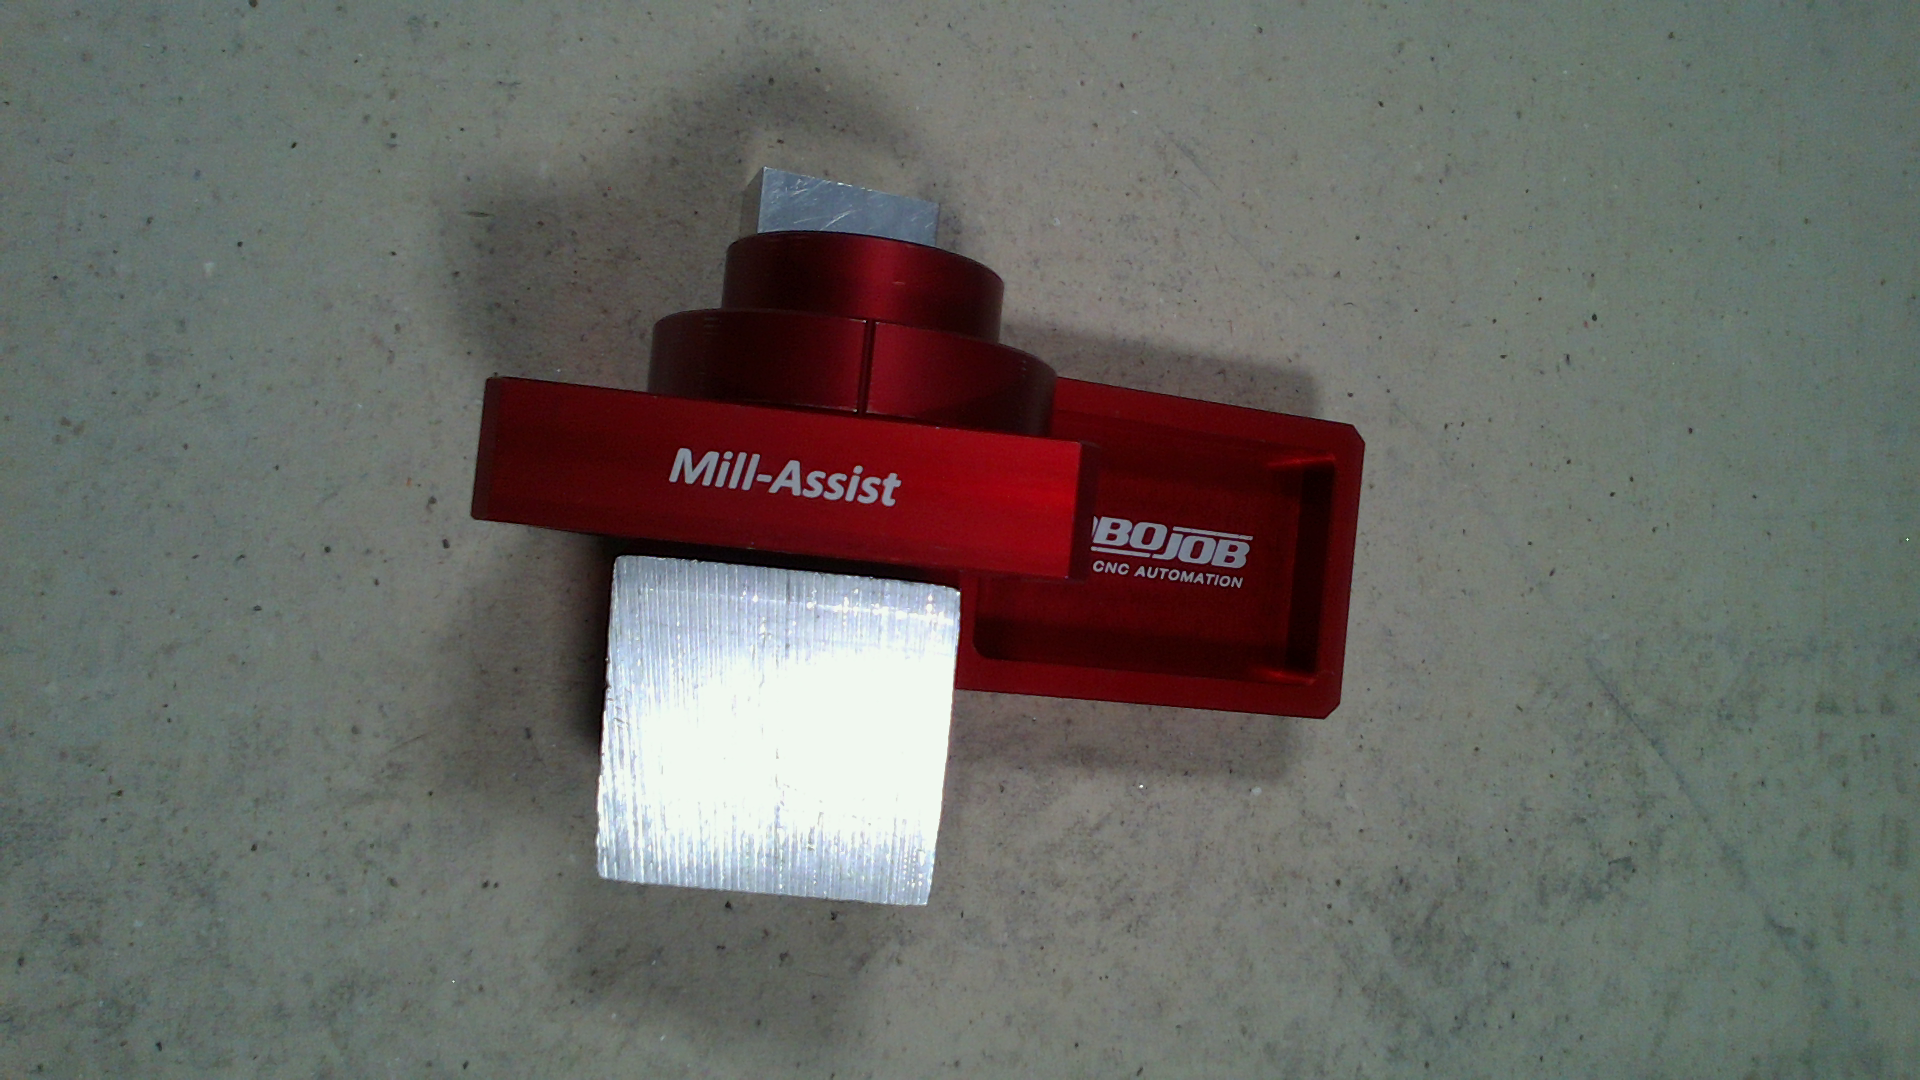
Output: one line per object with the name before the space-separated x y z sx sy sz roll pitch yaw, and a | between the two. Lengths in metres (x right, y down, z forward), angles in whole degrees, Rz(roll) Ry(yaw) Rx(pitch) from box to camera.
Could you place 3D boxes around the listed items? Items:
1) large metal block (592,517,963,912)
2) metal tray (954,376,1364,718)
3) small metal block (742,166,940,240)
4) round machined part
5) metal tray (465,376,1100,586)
large metal block | -0.044 0.041 0.345 0.080 0.050 0.080 6 101 -2
metal tray | 0.054 0.003 0.410 0.130 0.030 0.090 7 88 -20
small metal block | -0.036 -0.071 0.381 0.050 0.025 0.050 7 88 -20
round machined part | -0.025 -0.046 0.334 0.098 0.098 0.042 6 88 -20
metal tray | -0.037 -0.011 0.327 0.130 0.090 0.030 6 89 -1
